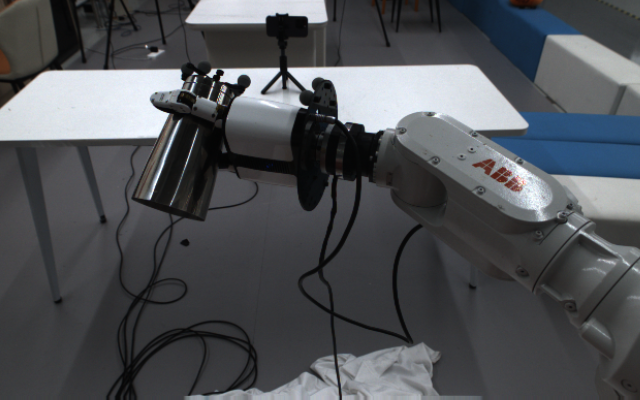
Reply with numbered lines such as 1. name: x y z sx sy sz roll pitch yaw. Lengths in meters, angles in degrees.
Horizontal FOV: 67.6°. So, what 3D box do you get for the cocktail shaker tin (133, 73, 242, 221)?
1. cocktail shaker tin: -0.164 -0.070 0.616 0.093 0.093 0.170 13 78 15
